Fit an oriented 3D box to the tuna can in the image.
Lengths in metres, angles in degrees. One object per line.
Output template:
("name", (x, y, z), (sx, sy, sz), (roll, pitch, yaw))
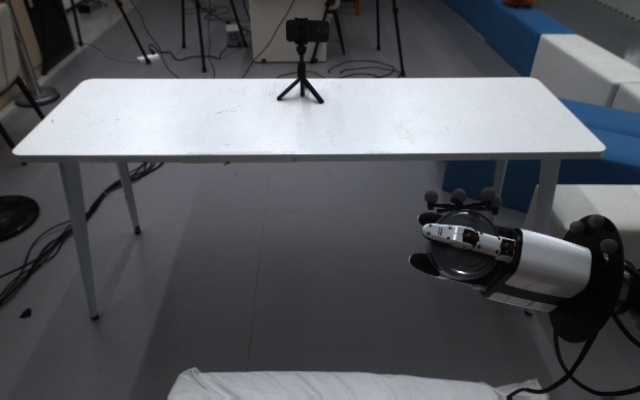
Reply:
("tuna can", (0.179, 0.053, 0.599), (0.085, 0.034, 0.085), (0, 77, 1))
